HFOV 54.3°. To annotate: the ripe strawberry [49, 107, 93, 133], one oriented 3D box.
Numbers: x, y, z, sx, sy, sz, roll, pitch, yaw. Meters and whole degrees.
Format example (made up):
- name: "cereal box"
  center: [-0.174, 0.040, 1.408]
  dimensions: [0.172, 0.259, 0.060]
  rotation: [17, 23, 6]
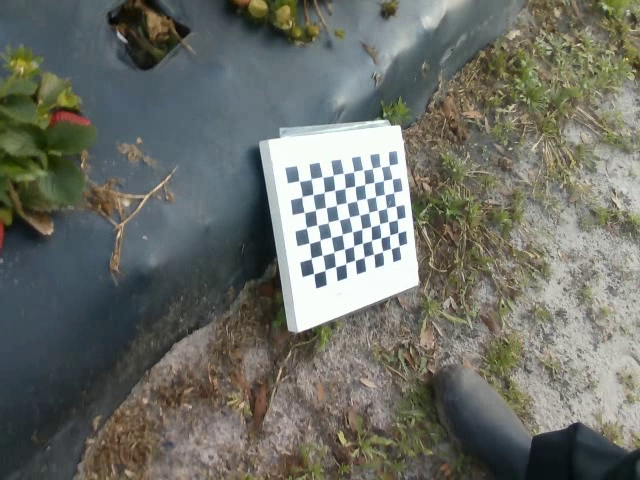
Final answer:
- name: "ripe strawberry"
  center: [-0.289, -0.136, 0.739]
  dimensions: [0.046, 0.043, 0.046]
  rotation: [-13, 5, -12]
